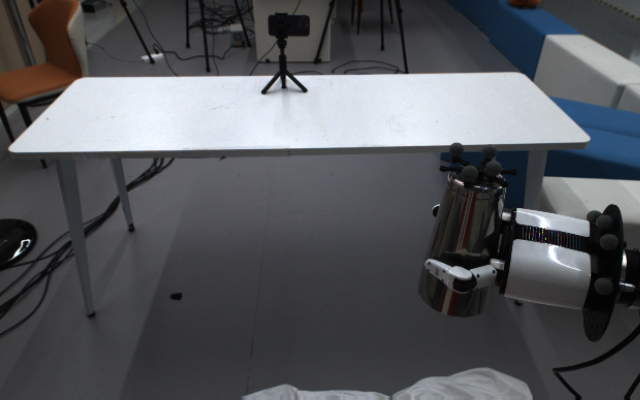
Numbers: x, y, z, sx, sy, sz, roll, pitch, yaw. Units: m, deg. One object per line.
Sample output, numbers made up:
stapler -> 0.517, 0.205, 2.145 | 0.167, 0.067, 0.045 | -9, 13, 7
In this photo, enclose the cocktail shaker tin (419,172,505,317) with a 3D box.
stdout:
cocktail shaker tin -> 0.181, 0.047, 0.601 | 0.093, 0.170, 0.093 | 2, 28, -1
